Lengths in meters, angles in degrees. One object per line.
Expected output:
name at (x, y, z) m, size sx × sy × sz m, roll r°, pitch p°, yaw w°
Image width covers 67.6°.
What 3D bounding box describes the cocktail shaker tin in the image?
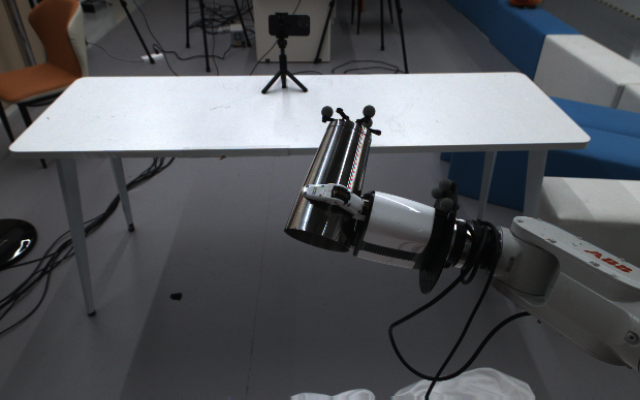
cocktail shaker tin at (0.019, -0.023, 0.675) m, size 0.093 × 0.093 × 0.170 m, roll 13°, pitch 73°, yaw 15°
